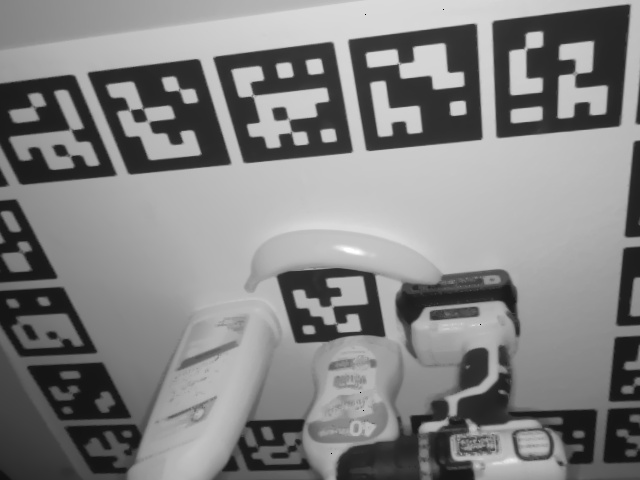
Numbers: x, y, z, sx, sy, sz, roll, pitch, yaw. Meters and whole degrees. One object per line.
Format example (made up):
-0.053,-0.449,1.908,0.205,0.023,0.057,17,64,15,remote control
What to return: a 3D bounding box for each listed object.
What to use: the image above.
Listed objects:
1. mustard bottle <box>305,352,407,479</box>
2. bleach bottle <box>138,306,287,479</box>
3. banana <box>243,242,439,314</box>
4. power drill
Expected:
0.036,0.196,0.691,0.096,0.193,0.058,-3,123,11,mustard bottle
-0.103,0.169,0.664,0.102,0.253,0.067,-11,120,15,bleach bottle
0.017,0.036,0.679,0.197,0.039,0.074,-3,119,6,banana
0.123,0.148,0.627,0.183,0.189,0.057,-5,129,14,power drill
